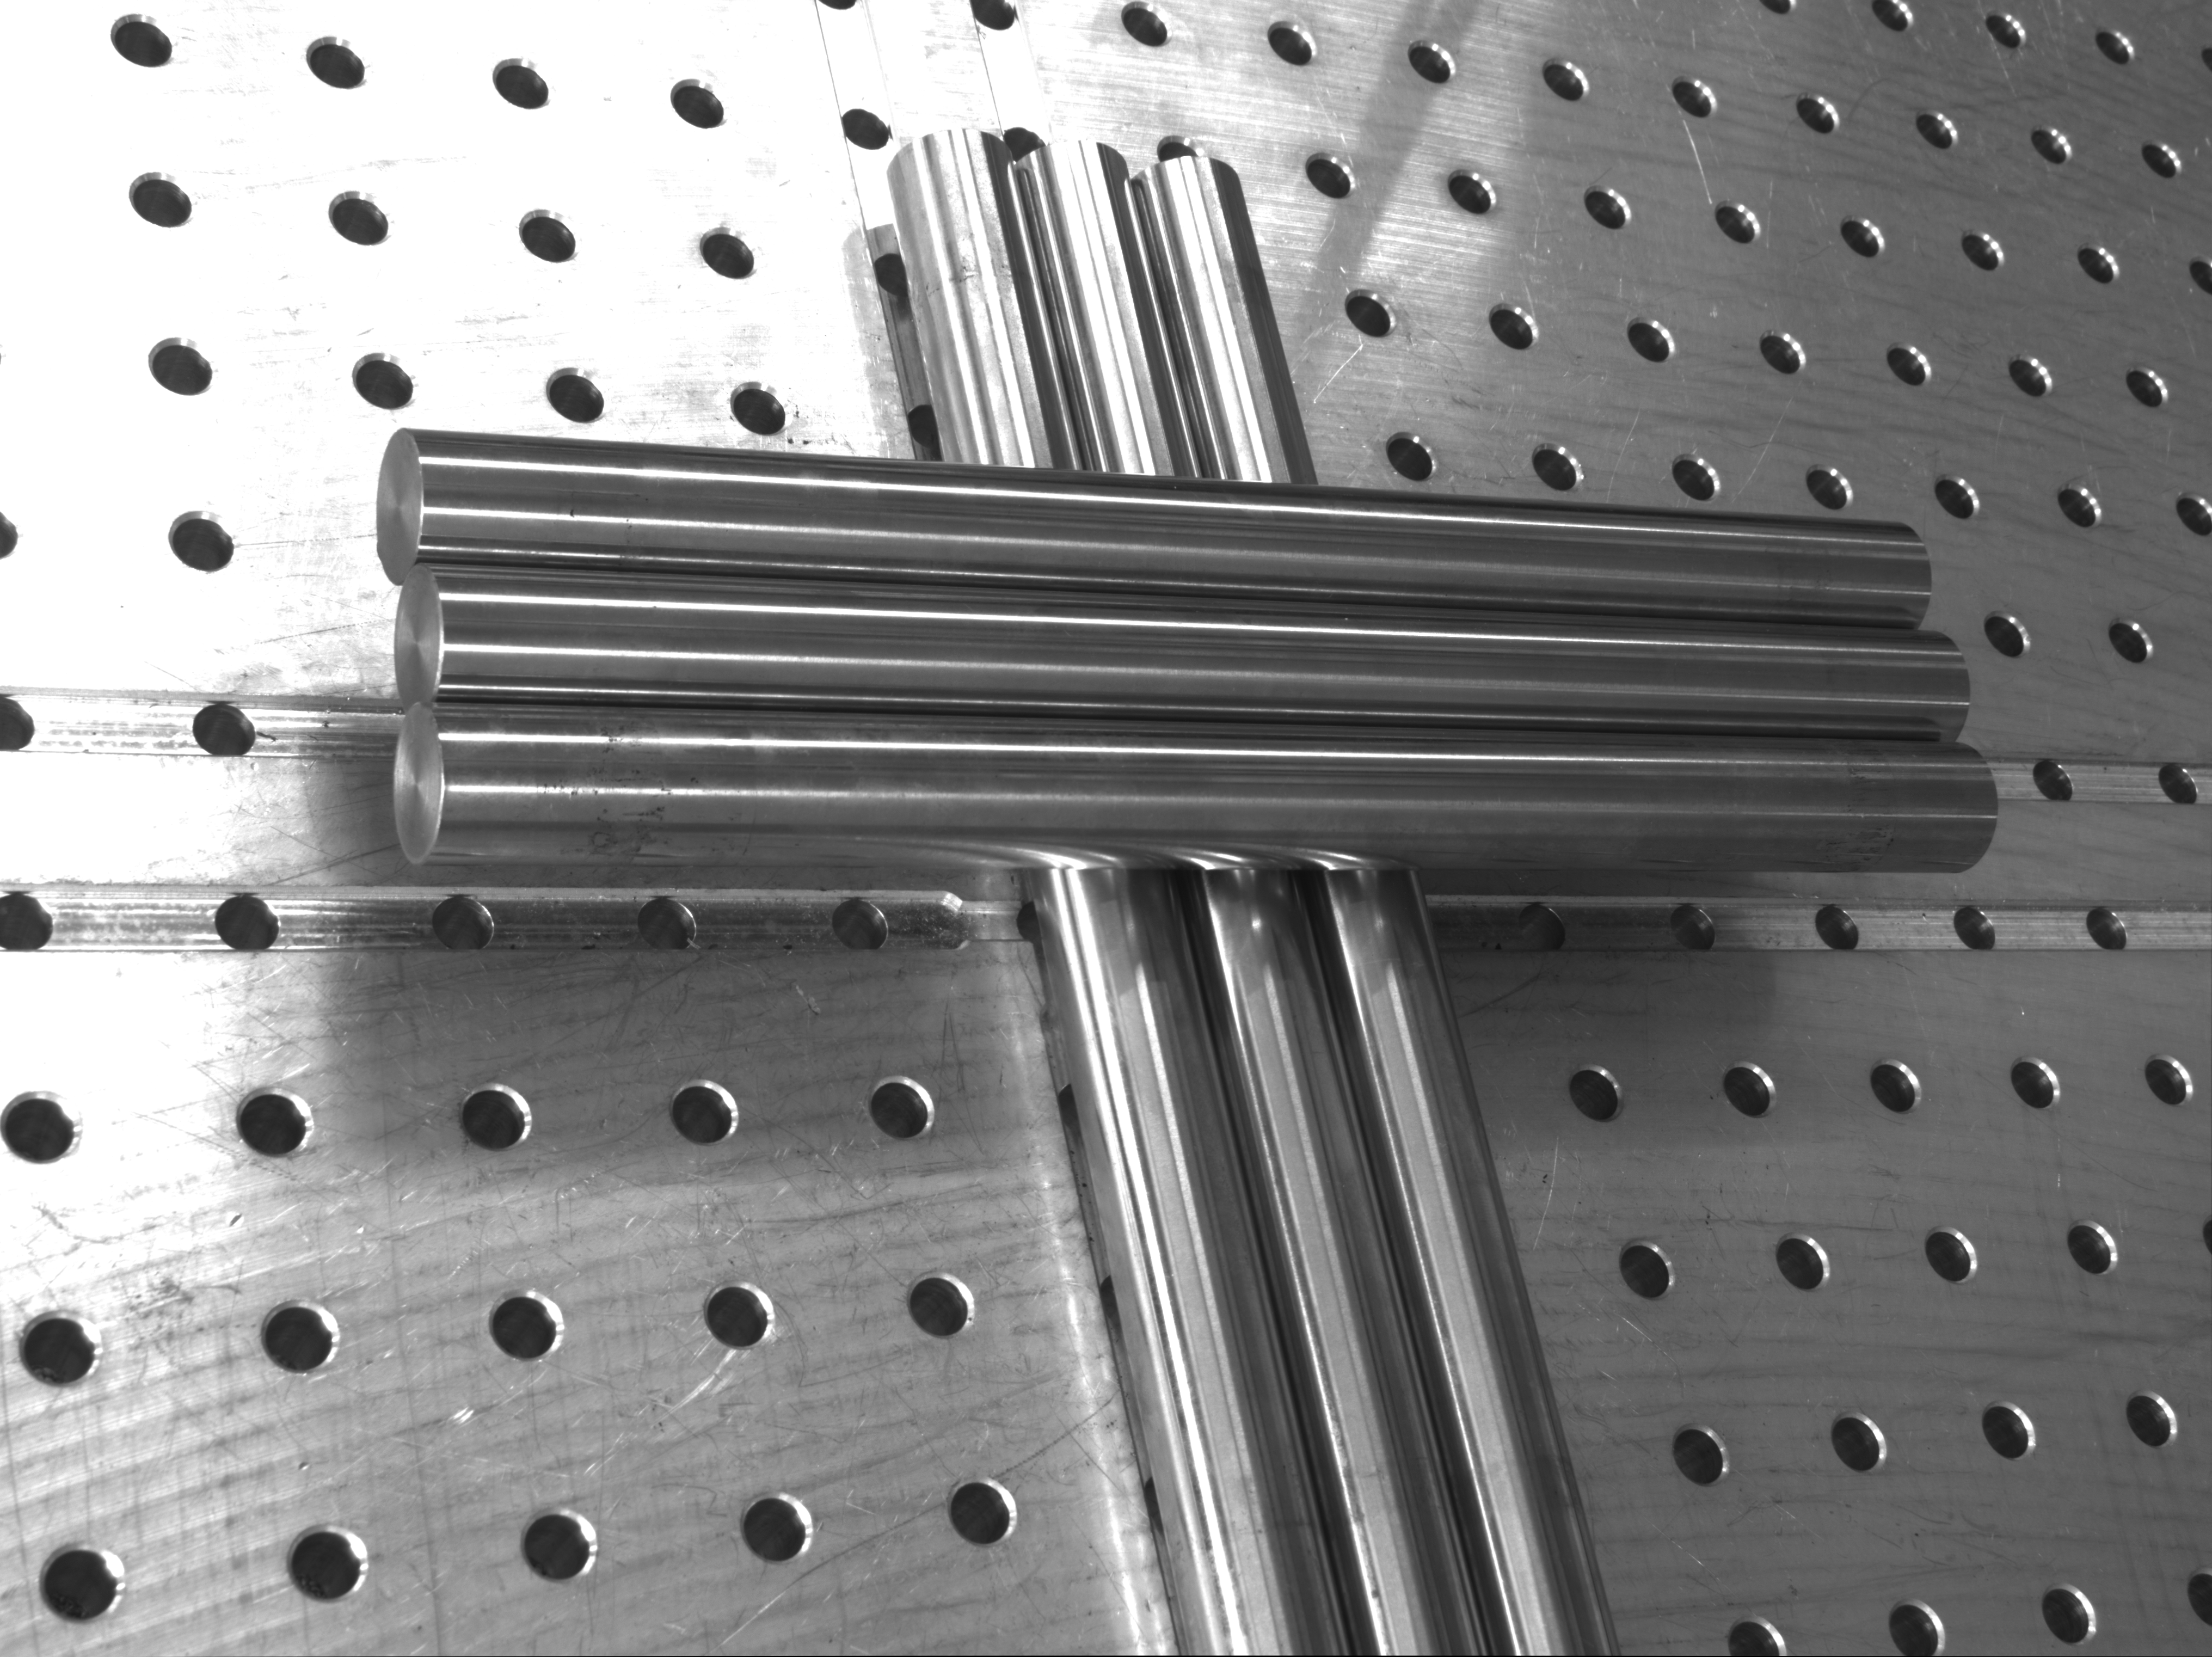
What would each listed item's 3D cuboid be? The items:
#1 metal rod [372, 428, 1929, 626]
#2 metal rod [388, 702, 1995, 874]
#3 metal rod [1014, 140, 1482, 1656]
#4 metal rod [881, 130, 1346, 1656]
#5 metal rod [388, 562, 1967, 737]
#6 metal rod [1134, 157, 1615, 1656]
[{"bbox_3d":[0.020,-0.049,0.651,0.301,0.025,0.025,1,61,-28],"label":"metal rod"},{"bbox_3d":[0.027,-0.005,0.628,0.301,0.025,0.025,1,61,-28],"label":"metal rod"},{"bbox_3d":[0.020,0.006,0.649,0.025,0.025,0.300,2,61,-27],"label":"metal rod"},{"bbox_3d":[-0.002,0.006,0.638,0.025,0.025,0.300,2,61,-27],"label":"metal rod"},{"bbox_3d":[0.025,-0.027,0.640,0.301,0.025,0.025,1,61,-28],"label":"metal rod"},{"bbox_3d":[0.042,0.007,0.661,0.025,0.025,0.300,2,61,-27],"label":"metal rod"}]
